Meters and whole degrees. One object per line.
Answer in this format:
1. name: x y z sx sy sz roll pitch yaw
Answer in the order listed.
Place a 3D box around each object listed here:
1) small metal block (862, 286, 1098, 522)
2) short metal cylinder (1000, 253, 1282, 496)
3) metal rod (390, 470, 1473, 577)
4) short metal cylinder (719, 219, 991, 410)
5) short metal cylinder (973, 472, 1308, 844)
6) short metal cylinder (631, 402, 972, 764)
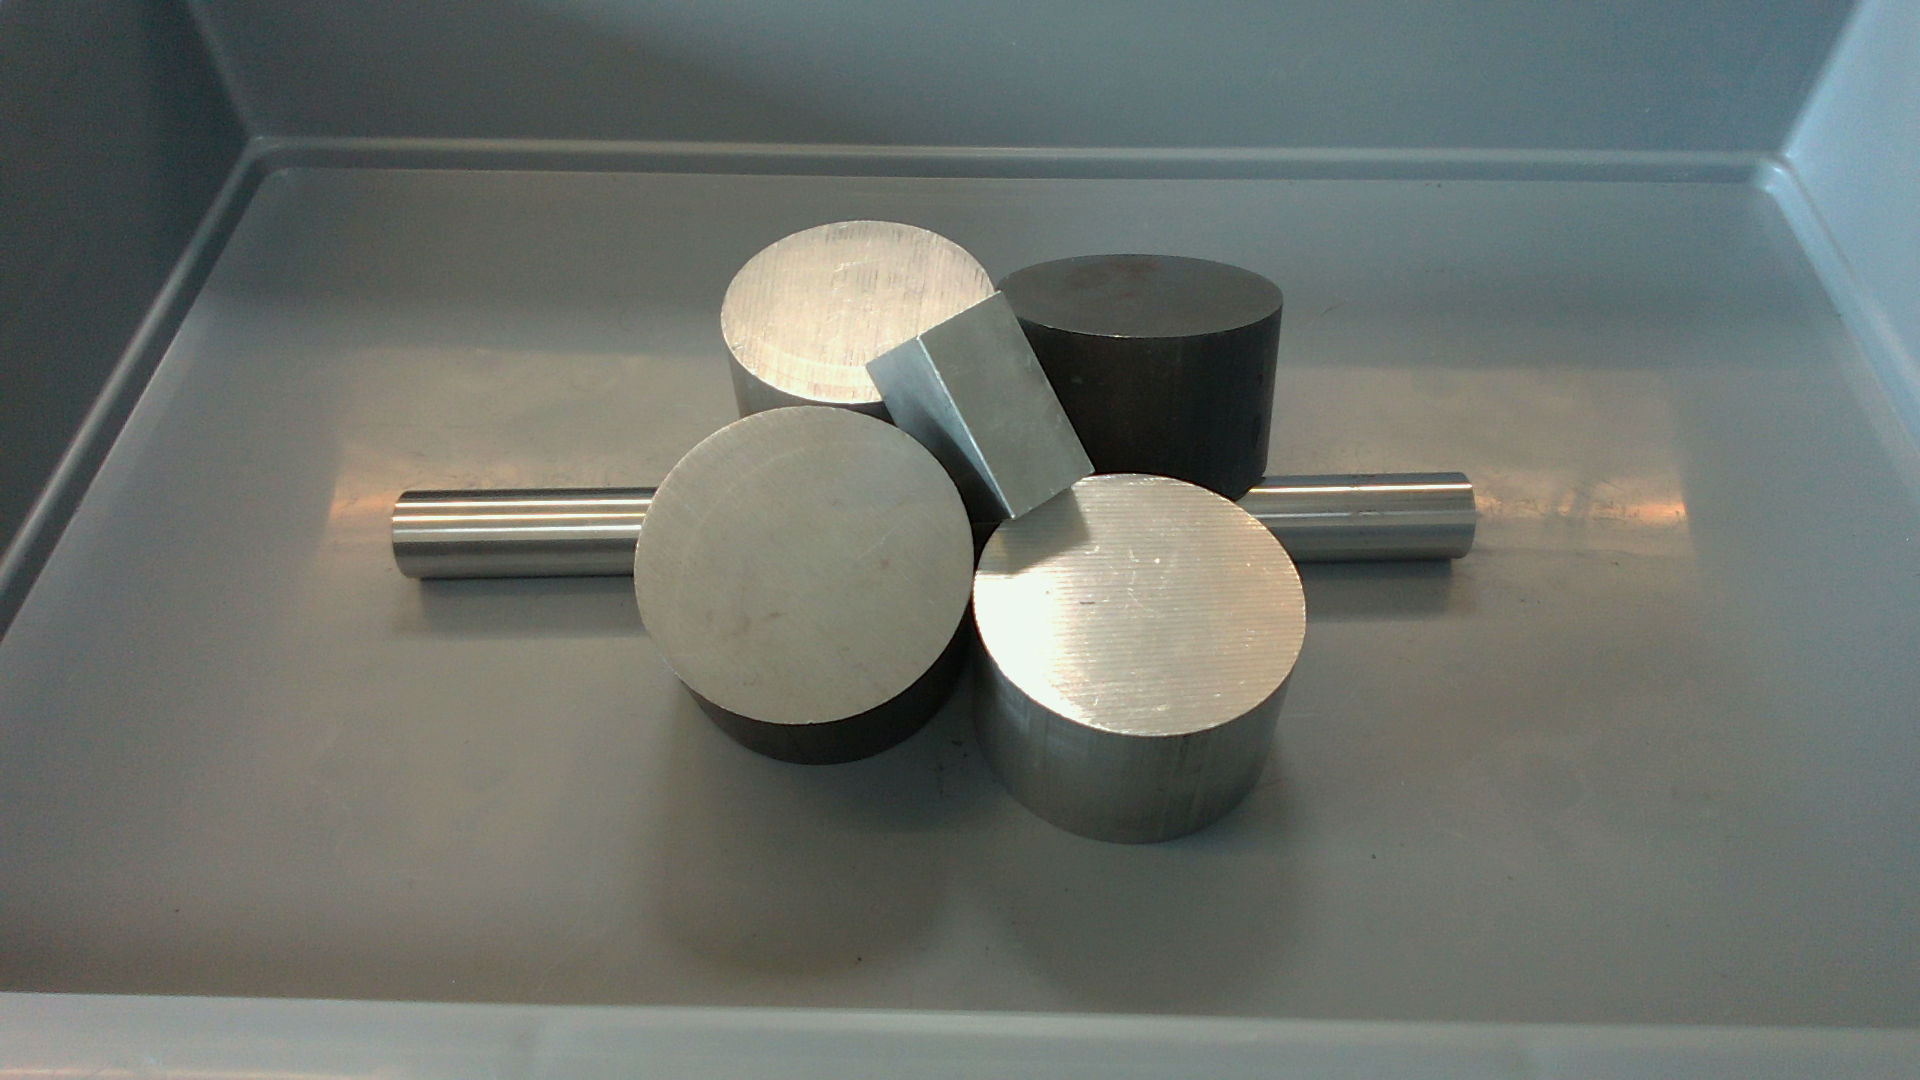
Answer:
1. small metal block: 0.004 -0.033 0.355 0.025 0.050 0.050 -31 98 -17
2. short metal cylinder: 0.050 -0.048 0.397 0.080 0.050 0.080 0 27 0
3. metal rod: -0.007 -0.005 0.394 0.300 0.025 0.025 -1 50 -1
4. short metal cylinder: -0.029 -0.052 0.418 0.080 0.050 0.080 0 50 0
5. short metal cylinder: 0.043 0.029 0.349 0.080 0.050 0.080 0 50 0
6. short metal cylinder: -0.037 0.012 0.347 0.080 0.050 0.080 0 70 -1
